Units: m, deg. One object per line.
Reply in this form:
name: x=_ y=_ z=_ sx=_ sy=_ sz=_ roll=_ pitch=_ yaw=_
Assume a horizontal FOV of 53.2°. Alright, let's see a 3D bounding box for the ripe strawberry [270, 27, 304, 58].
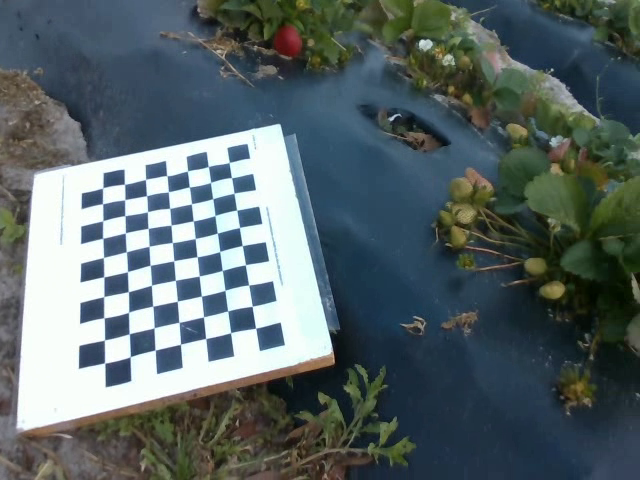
ripe strawberry: x=-0.052 y=-0.291 z=0.907 sx=0.043 sy=0.047 sz=0.046 roll=-11 pitch=24 yaw=-7
